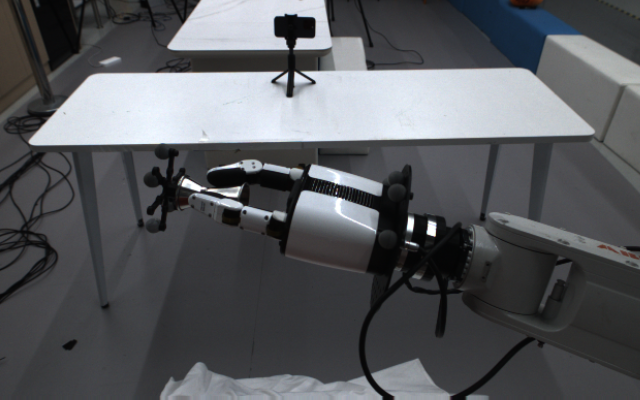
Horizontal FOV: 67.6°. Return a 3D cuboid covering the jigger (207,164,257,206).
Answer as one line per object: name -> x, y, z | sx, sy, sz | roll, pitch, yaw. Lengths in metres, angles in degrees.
jigger -> -0.107, -0.005, 0.520 | 0.071, 0.043, 0.043 | 9, 35, 3
